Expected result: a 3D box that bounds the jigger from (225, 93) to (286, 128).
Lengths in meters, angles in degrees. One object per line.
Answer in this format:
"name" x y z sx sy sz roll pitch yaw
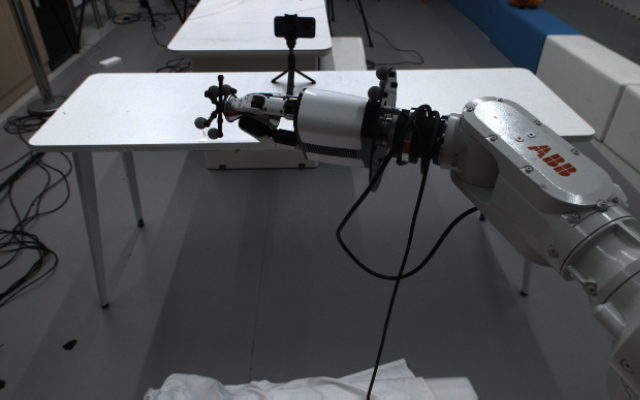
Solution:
"jigger" -0.092 -0.128 0.672 0.071 0.043 0.043 10 35 16
